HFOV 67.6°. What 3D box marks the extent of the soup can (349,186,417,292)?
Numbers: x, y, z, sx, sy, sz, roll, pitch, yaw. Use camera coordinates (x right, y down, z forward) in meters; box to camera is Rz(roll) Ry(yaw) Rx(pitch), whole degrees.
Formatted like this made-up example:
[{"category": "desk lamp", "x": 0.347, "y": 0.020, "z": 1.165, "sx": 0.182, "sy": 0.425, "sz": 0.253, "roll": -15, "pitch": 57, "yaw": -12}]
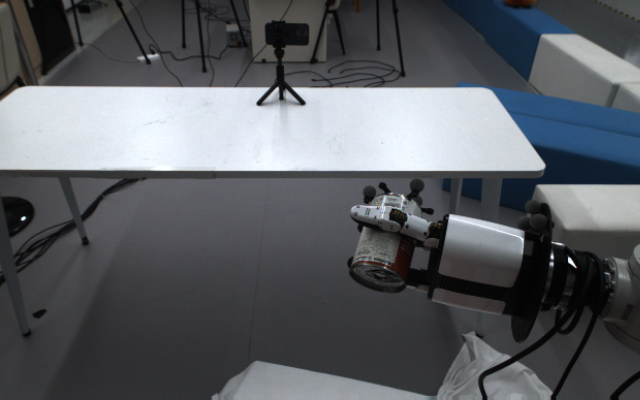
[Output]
[{"category": "soup can", "x": 0.081, "y": 0.048, "z": 0.581, "sx": 0.067, "sy": 0.067, "sz": 0.101, "roll": 12, "pitch": 59, "yaw": 14}]
